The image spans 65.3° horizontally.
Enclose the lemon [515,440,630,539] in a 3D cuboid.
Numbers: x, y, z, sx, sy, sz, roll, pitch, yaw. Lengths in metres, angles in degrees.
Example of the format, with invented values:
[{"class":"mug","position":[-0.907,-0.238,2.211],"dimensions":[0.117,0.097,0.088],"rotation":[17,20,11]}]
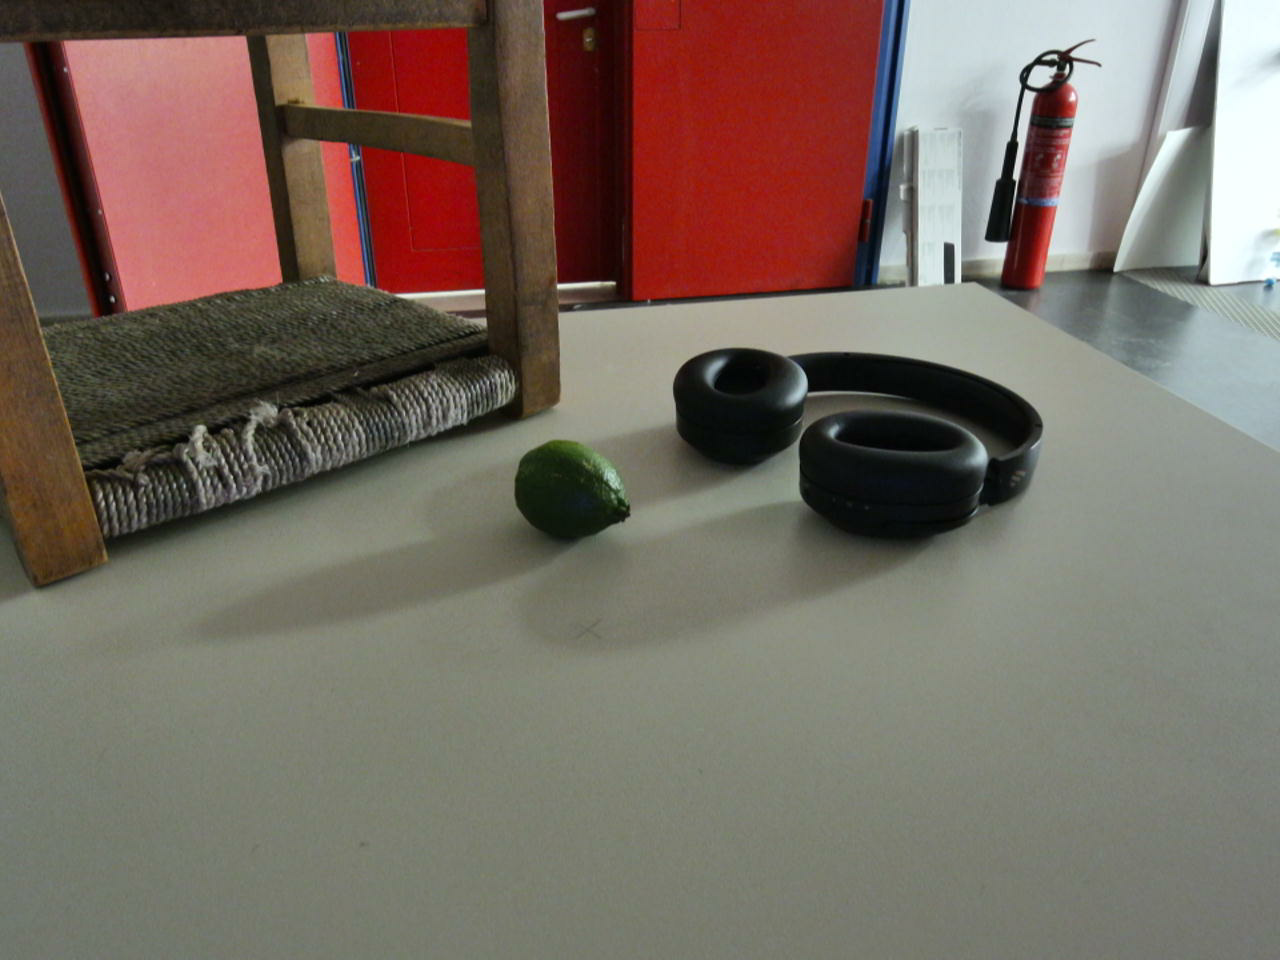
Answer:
[{"class":"lemon","position":[-0.038,0.004,0.525],"dimensions":[0.057,0.051,0.054],"rotation":[-8,27,-15]}]
